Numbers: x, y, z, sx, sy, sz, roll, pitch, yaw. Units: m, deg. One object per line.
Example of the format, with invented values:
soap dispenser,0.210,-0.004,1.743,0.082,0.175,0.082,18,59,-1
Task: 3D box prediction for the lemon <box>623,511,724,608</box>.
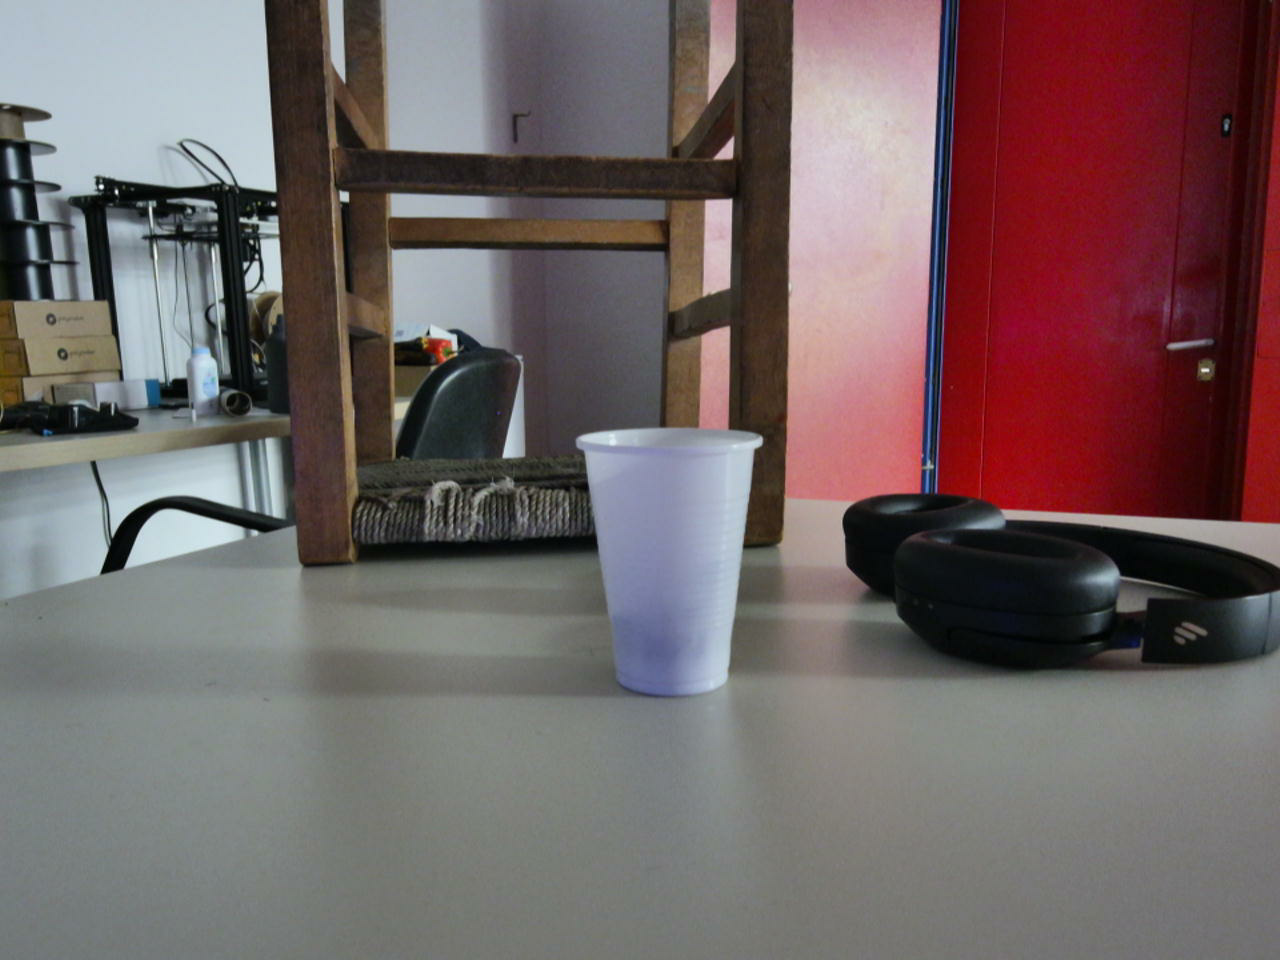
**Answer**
lemon,0.019,0.043,0.547,0.057,0.051,0.054,2,7,20
